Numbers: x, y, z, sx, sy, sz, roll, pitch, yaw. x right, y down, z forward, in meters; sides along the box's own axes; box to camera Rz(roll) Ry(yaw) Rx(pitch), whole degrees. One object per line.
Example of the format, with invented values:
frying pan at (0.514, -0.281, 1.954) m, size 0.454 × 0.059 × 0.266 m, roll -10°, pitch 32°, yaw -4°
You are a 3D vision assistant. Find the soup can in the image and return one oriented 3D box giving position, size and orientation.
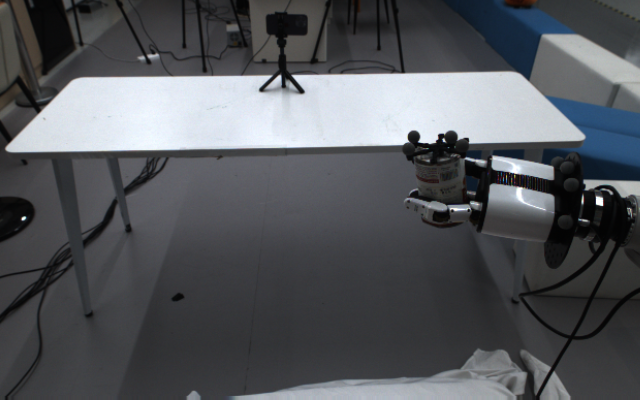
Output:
soup can at (0.171, -0.022, 0.673) m, size 0.067 × 0.101 × 0.067 m, roll -11°, pitch 27°, yaw 6°
